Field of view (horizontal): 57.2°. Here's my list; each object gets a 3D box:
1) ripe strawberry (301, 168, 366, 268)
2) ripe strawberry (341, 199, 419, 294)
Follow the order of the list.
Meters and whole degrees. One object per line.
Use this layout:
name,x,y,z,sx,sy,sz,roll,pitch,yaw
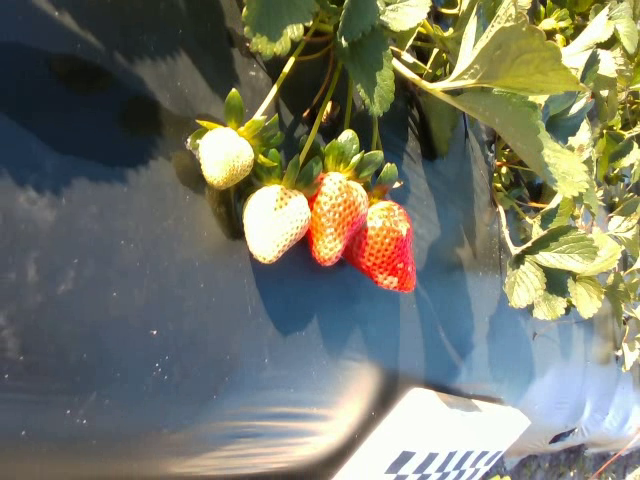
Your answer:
ripe strawberry,0.006,-0.010,0.303,0.044,0.061,0.050,1,-33,15
ripe strawberry,0.039,0.006,0.343,0.057,0.067,0.052,-27,-3,-23
